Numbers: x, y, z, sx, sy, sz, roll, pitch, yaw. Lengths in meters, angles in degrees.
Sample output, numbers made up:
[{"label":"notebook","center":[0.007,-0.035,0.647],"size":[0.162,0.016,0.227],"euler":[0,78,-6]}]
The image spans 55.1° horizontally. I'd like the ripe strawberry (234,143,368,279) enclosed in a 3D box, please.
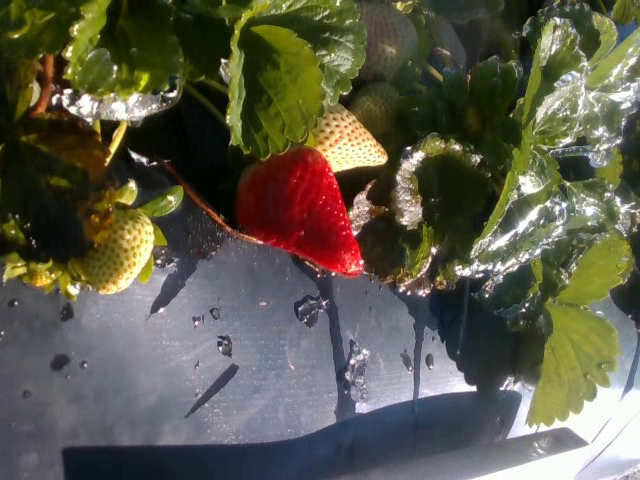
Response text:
[{"label":"ripe strawberry","center":[-0.004,-0.007,0.199],"size":[0.040,0.053,0.042],"euler":[-31,-20,-24]}]
